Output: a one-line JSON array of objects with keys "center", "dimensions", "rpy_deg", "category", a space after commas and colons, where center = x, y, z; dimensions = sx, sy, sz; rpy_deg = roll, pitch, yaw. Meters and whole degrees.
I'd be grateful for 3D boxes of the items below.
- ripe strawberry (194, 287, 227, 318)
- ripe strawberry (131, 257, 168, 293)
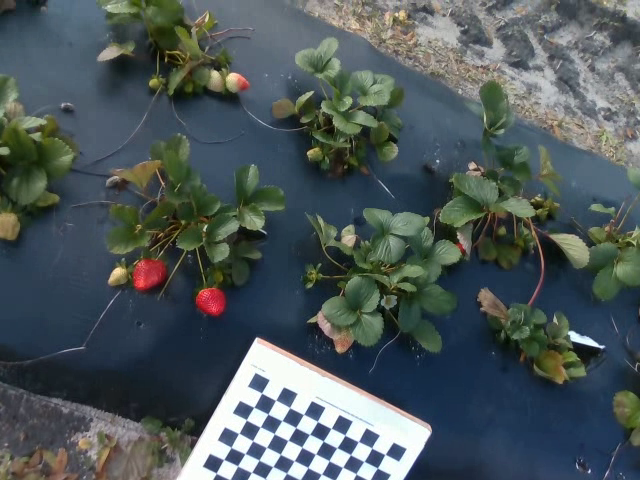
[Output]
[{"center": [-0.107, 0.066, 0.679], "dimensions": [0.033, 0.038, 0.039], "rpy_deg": [33, 21, -30], "category": "ripe strawberry"}, {"center": [-0.169, 0.037, 0.665], "dimensions": [0.035, 0.041, 0.036], "rpy_deg": [14, 37, -3], "category": "ripe strawberry"}]
